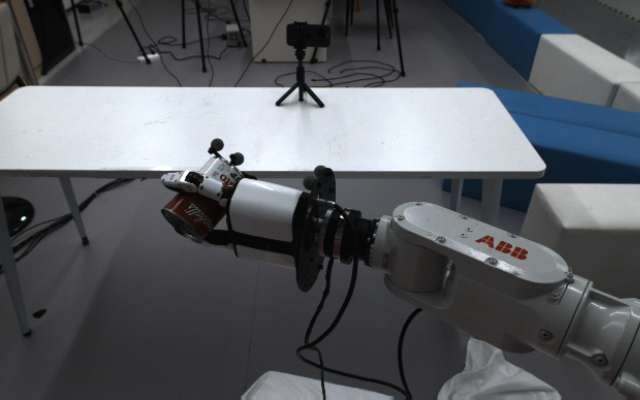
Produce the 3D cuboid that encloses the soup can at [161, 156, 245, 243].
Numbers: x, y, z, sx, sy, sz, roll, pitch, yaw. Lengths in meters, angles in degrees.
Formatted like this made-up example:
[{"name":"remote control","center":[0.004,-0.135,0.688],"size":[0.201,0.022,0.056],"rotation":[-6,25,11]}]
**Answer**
[{"name":"soup can","center":[-0.153,-0.001,0.648],"size":[0.067,0.067,0.101],"rotation":[23,61,27]}]
